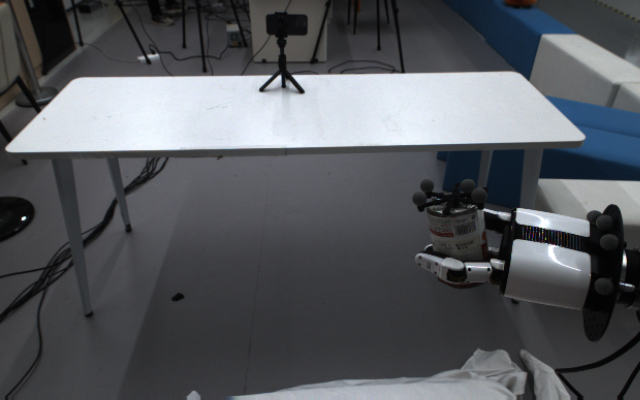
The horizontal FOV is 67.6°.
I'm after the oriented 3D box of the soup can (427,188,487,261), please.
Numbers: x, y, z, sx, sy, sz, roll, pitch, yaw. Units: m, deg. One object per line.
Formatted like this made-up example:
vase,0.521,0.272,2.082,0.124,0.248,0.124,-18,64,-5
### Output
soup can,0.175,0.049,0.600,0.067,0.101,0.067,-13,20,5
